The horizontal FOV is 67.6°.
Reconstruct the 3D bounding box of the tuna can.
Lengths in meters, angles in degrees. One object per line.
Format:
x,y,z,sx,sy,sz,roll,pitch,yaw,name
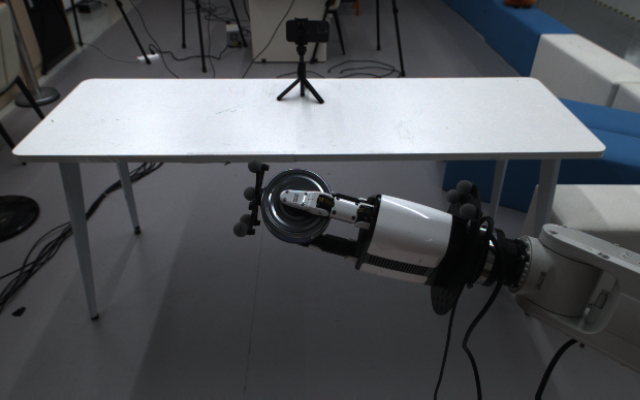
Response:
-0.023,0.010,0.569,0.085,0.034,0.085,2,73,-5,tuna can
